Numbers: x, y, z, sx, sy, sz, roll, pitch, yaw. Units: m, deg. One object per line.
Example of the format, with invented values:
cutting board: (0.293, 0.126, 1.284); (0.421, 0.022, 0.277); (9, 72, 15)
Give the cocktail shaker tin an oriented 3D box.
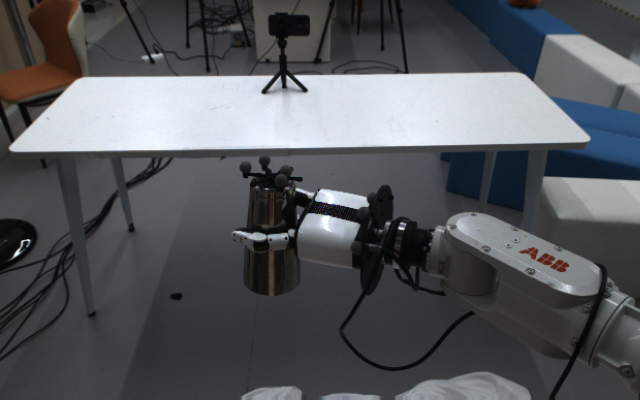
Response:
cocktail shaker tin: (-0.073, 0.049, 0.741); (0.093, 0.170, 0.093); (2, 26, -1)
